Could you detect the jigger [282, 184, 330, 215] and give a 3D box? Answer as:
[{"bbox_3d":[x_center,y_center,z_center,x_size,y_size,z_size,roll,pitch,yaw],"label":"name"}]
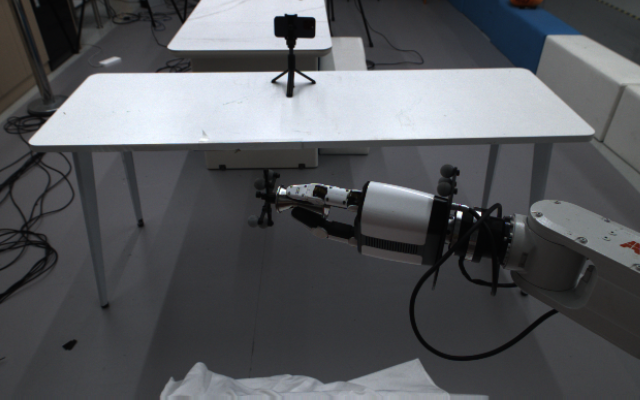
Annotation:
[{"bbox_3d":[-0.016,-0.003,0.663,0.071,0.043,0.043,5,34,13],"label":"jigger"}]
